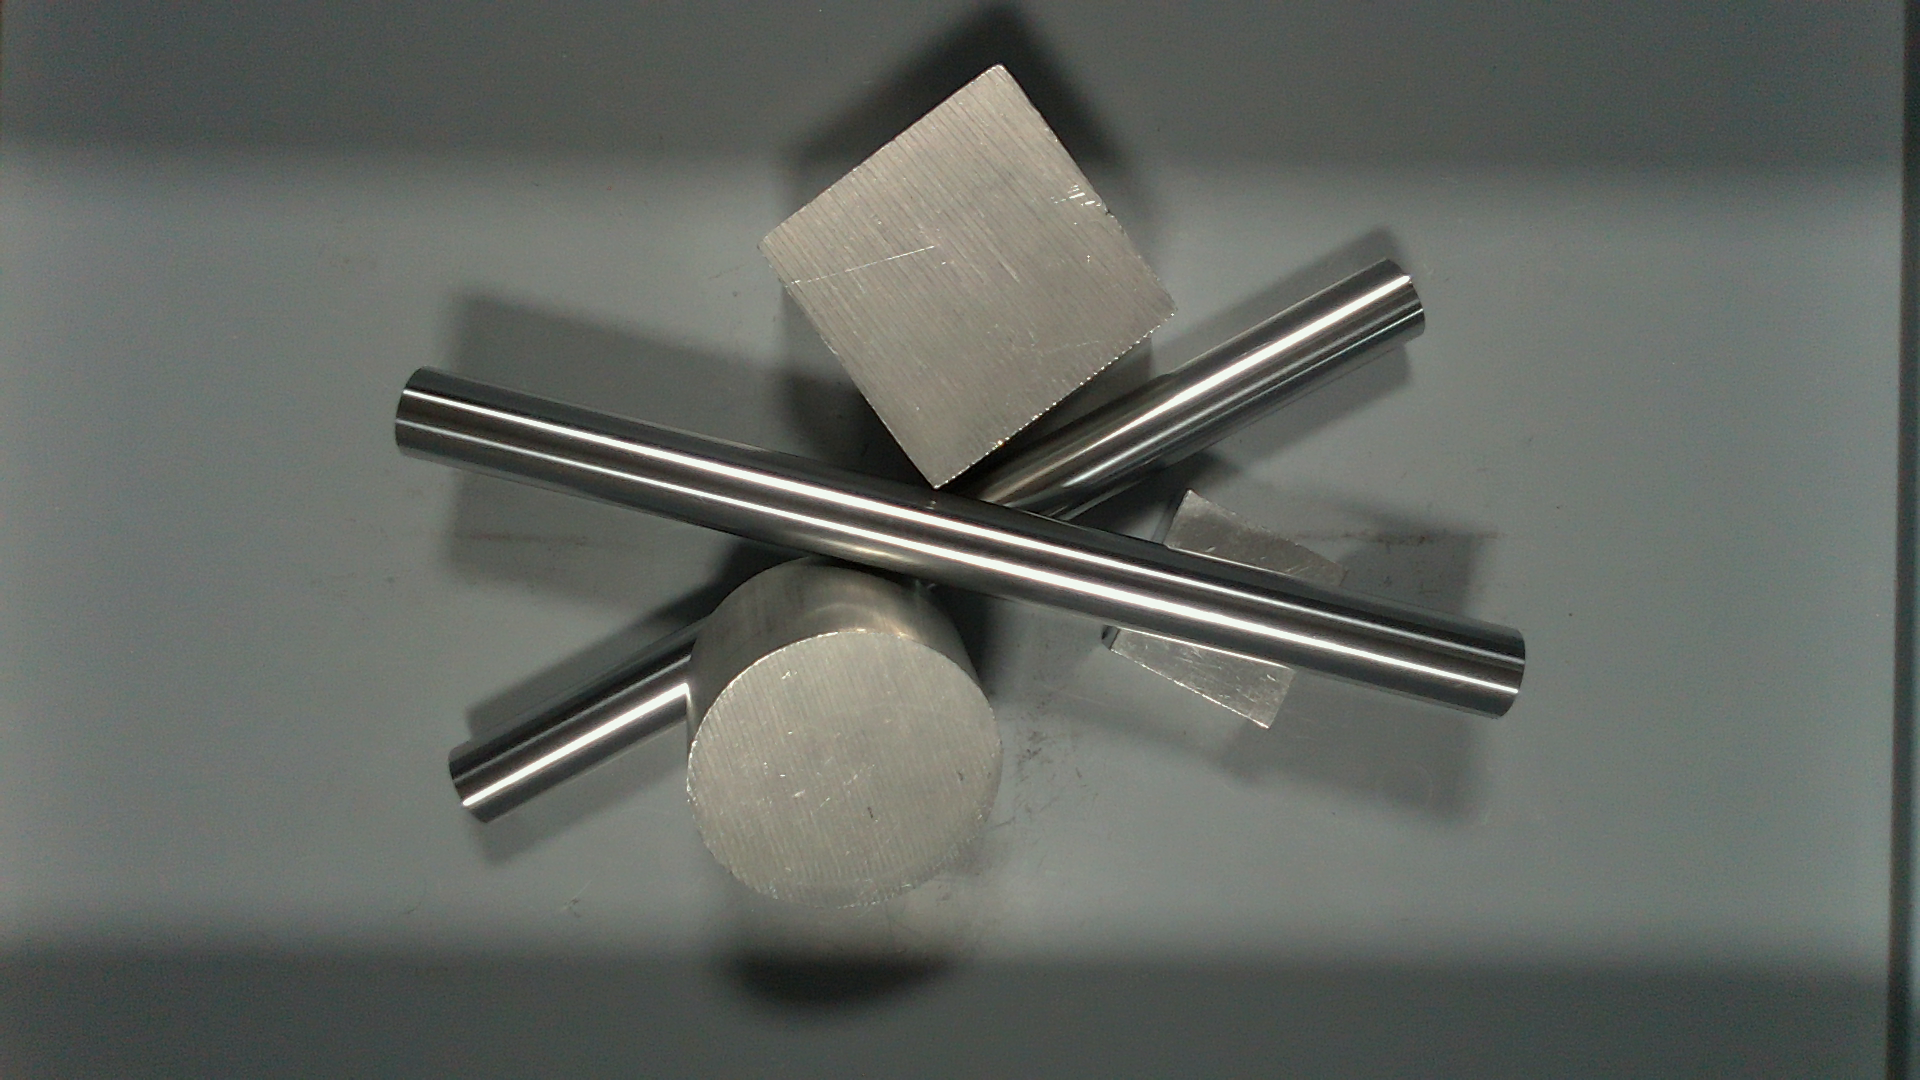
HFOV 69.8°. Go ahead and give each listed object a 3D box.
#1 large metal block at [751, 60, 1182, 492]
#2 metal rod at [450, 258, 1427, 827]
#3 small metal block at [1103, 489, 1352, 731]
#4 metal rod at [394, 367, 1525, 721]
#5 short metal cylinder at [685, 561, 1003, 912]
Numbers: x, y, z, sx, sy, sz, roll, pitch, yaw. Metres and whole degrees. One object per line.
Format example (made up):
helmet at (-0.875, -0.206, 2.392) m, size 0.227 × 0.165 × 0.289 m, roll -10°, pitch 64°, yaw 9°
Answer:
large metal block at (0.002, -0.068, 0.381) m, size 0.080 × 0.050 × 0.080 m, roll -36°, pitch 90°, yaw 0°
metal rod at (-0.006, 0.001, 0.394) m, size 0.300 × 0.025 × 0.025 m, roll -28°, pitch 90°, yaw 0°
small metal block at (0.075, 0.019, 0.393) m, size 0.050 × 0.025 × 0.050 m, roll 26°, pitch 90°, yaw 0°
metal rod at (0.000, 0.001, 0.369) m, size 0.300 × 0.025 × 0.025 m, roll 14°, pitch 90°, yaw 0°
short metal cylinder at (-0.033, 0.051, 0.368) m, size 0.080 × 0.050 × 0.080 m, roll -4°, pitch 112°, yaw -11°
